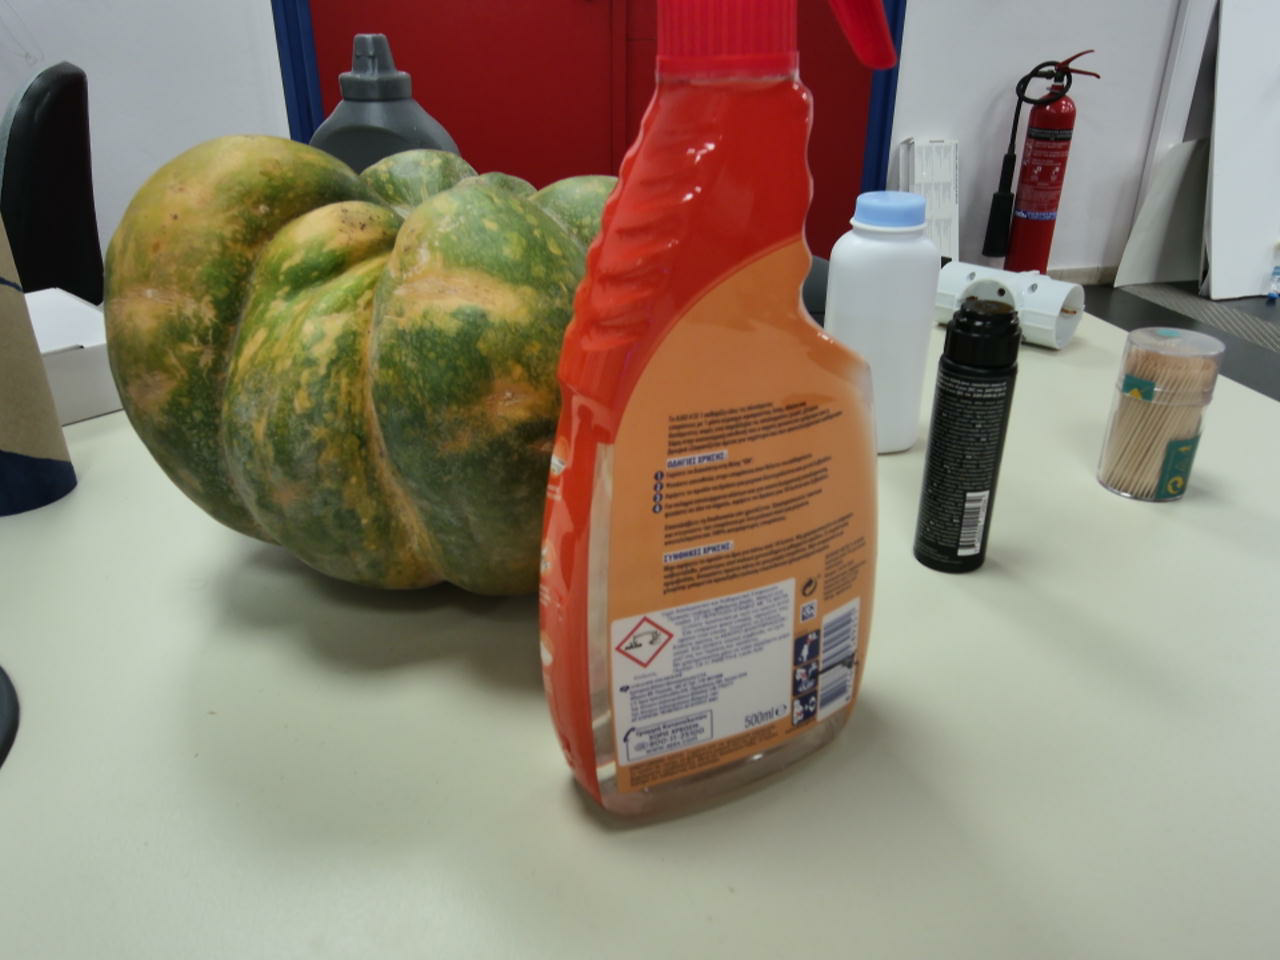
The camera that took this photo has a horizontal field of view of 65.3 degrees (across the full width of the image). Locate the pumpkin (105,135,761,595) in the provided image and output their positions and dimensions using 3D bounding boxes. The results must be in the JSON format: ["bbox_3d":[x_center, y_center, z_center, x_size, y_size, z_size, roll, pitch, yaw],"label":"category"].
[{"bbox_3d":[-0.078,-0.057,0.420,0.270,0.173,0.237,10,27,22],"label":"pumpkin"}]
